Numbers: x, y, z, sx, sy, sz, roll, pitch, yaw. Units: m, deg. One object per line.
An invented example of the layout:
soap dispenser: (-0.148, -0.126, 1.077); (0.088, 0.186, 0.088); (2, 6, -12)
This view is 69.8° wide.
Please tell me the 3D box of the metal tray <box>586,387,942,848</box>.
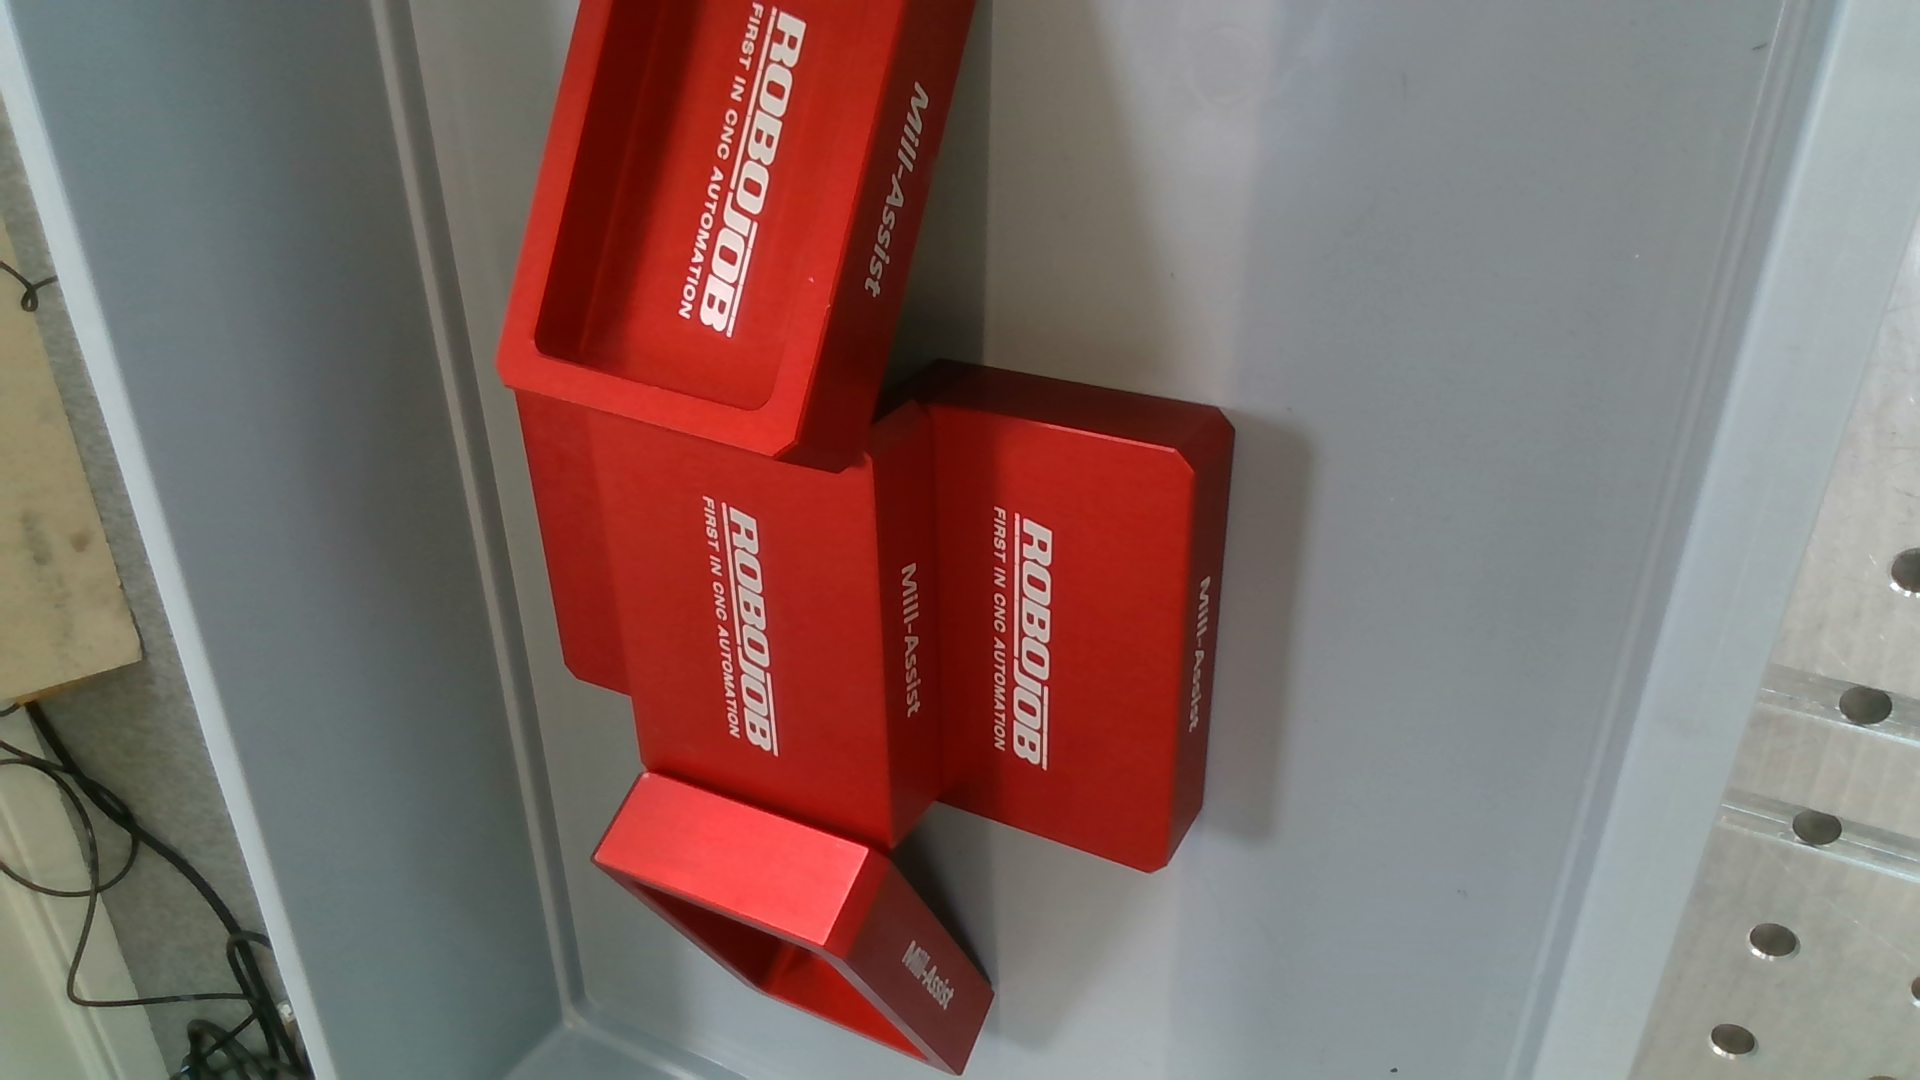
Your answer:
metal tray: (-0.053, 0.018, 0.388); (0.090, 0.030, 0.130); (13, 122, 25)

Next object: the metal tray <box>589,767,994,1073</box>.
metal tray: (-0.049, 0.125, 0.443); (0.090, 0.030, 0.130); (13, 150, 26)

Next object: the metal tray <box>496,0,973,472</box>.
metal tray: (-0.054, -0.090, 0.329); (0.090, 0.030, 0.130); (16, 93, 25)

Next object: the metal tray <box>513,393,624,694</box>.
metal tray: (-0.091, -0.007, 0.435); (0.090, 0.030, 0.130); (14, 122, 25)

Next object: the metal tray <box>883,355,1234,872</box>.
metal tray: (0.023, 0.021, 0.380); (0.090, 0.030, 0.130); (14, 122, 25)
